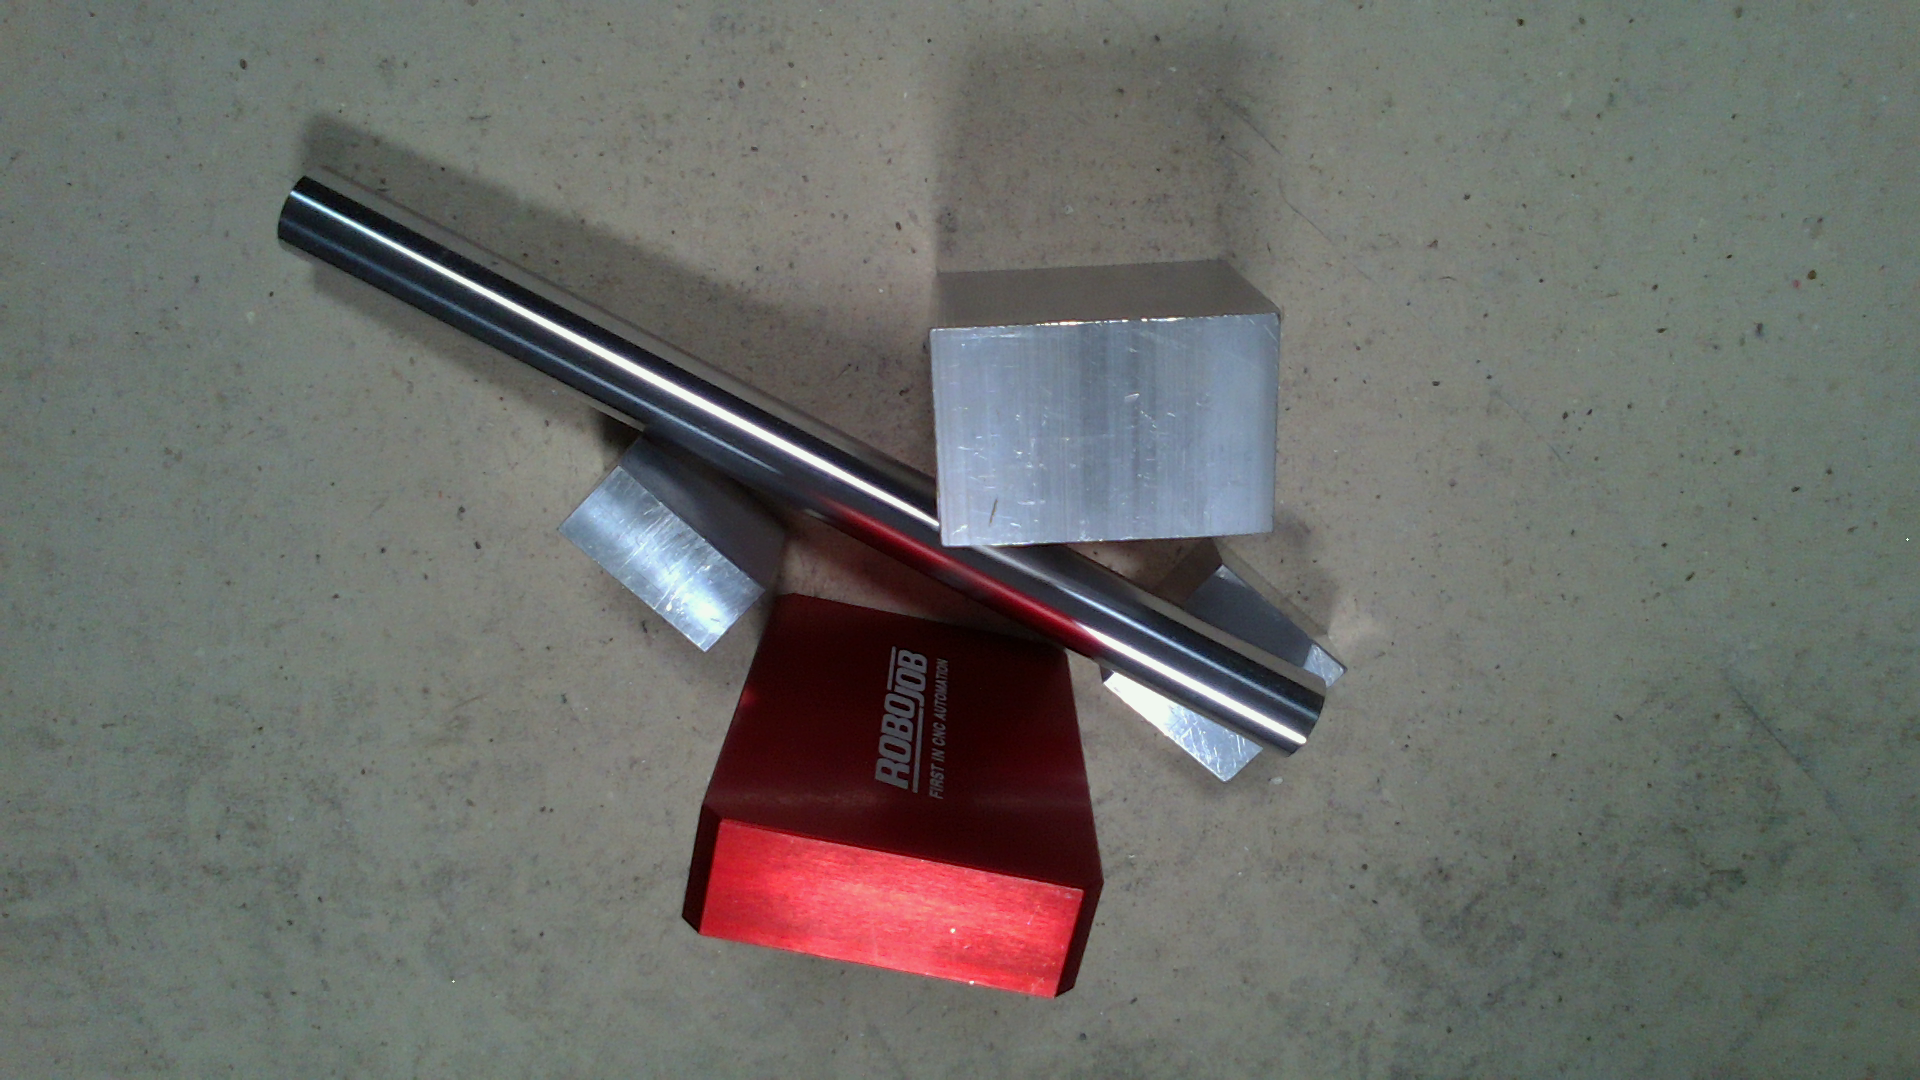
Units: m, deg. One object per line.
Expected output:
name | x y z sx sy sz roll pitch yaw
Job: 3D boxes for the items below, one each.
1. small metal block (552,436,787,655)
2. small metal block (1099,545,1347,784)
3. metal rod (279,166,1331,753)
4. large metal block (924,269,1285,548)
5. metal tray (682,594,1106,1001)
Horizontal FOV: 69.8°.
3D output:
small metal block | -0.078 -0.003 0.379 0.050 0.050 0.025 43 105 -14
small metal block | 0.076 0.035 0.408 0.050 0.025 0.050 39 105 -13
metal rod | -0.037 -0.019 0.372 0.300 0.025 0.025 27 108 -4
large metal block | 0.033 -0.037 0.350 0.080 0.080 0.050 -2 110 1
metal tray | -0.014 0.060 0.360 0.090 0.130 0.030 12 110 -4
